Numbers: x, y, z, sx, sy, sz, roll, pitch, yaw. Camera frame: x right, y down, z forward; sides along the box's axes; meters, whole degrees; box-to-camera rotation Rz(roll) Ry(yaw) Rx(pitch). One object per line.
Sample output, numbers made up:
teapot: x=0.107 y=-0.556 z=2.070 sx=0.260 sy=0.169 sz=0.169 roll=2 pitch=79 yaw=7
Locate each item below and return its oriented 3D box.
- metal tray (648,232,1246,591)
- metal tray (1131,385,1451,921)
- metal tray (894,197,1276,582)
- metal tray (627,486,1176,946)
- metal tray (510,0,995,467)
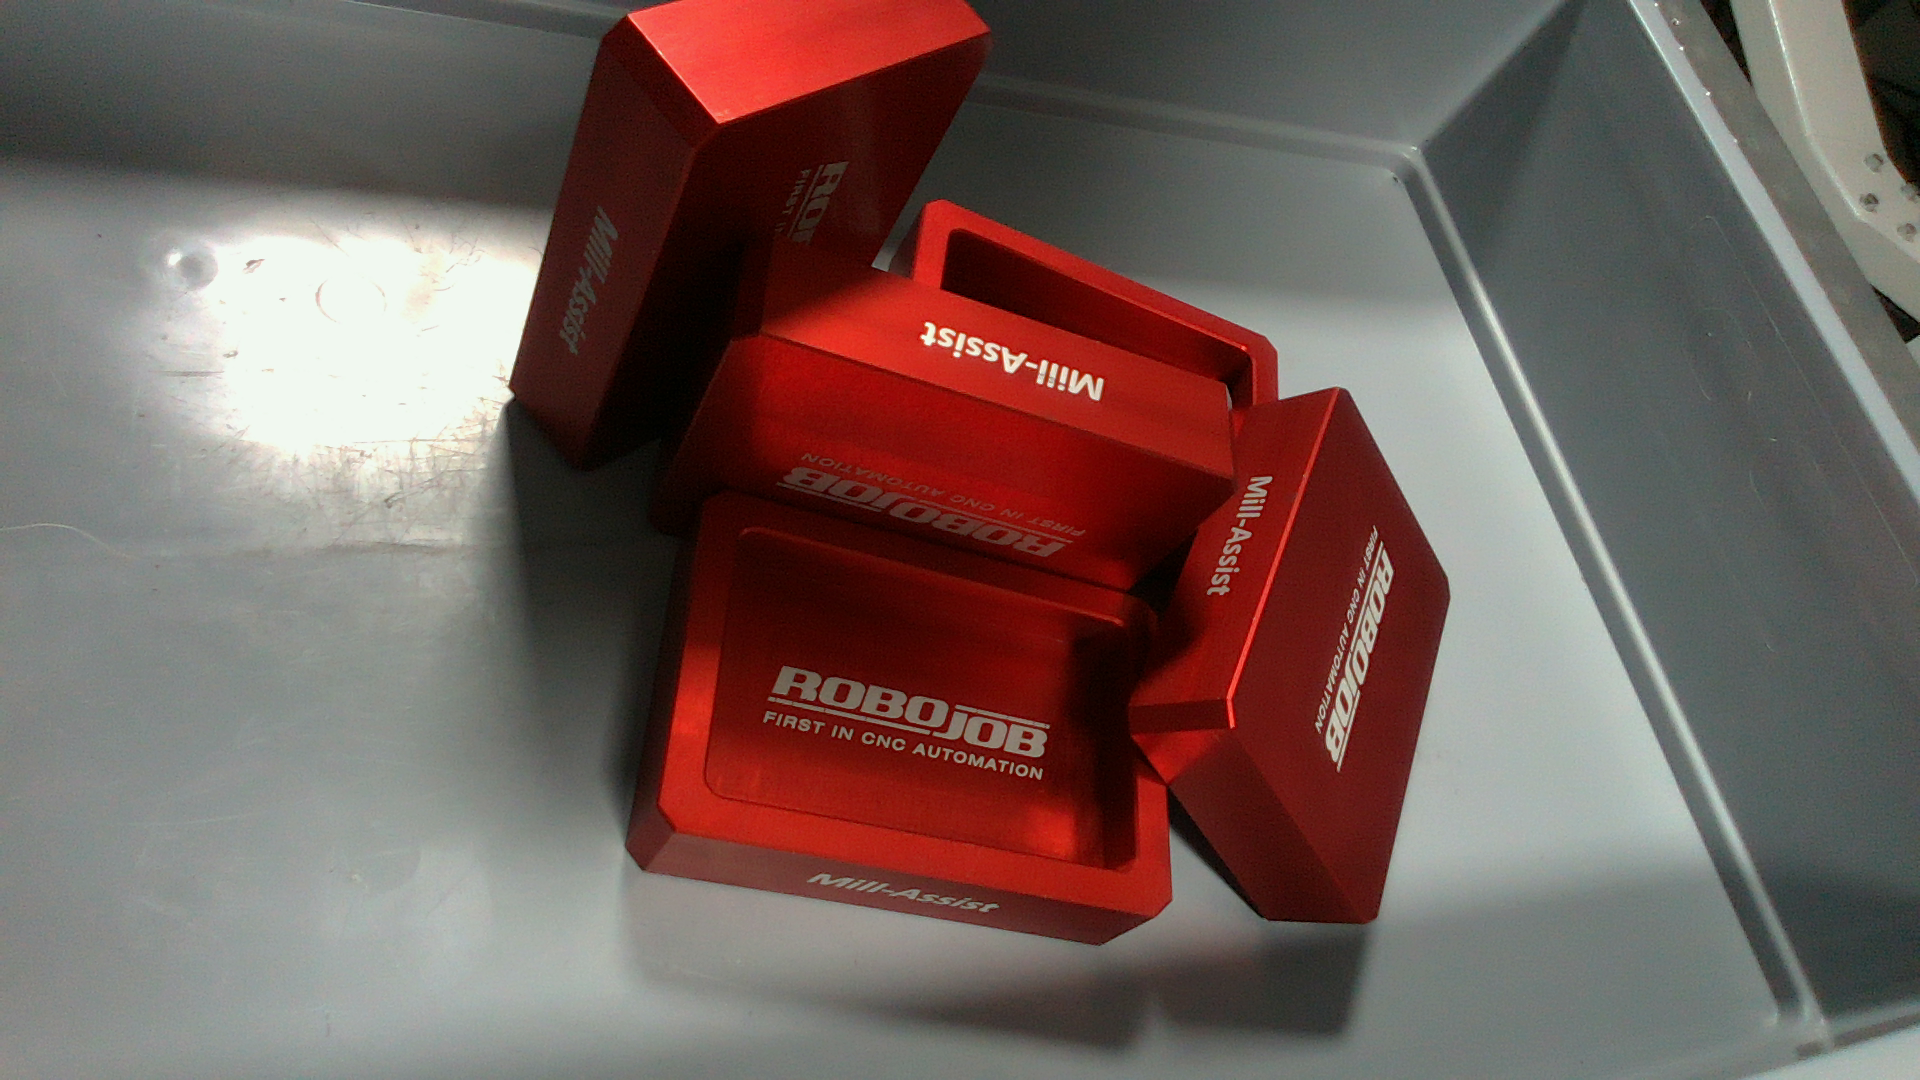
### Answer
metal tray: x=-0.005 y=-0.021 z=0.355 sx=0.130 sy=0.090 sz=0.030 roll=15 pitch=56 yaw=-20
metal tray: x=0.101 y=0.030 z=0.395 sx=0.090 sy=0.030 sz=0.130 roll=53 pitch=46 yaw=-28
metal tray: x=0.037 y=-0.044 z=0.432 sx=0.130 sy=0.030 sz=0.090 roll=19 pitch=54 yaw=-17
metal tray: x=-0.010 y=0.046 z=0.349 sx=0.130 sy=0.030 sz=0.090 roll=15 pitch=55 yaw=-20
metal tray: x=-0.055 y=-0.078 z=0.338 sx=0.090 sy=0.130 sz=0.030 roll=-34 pitch=81 yaw=-38
